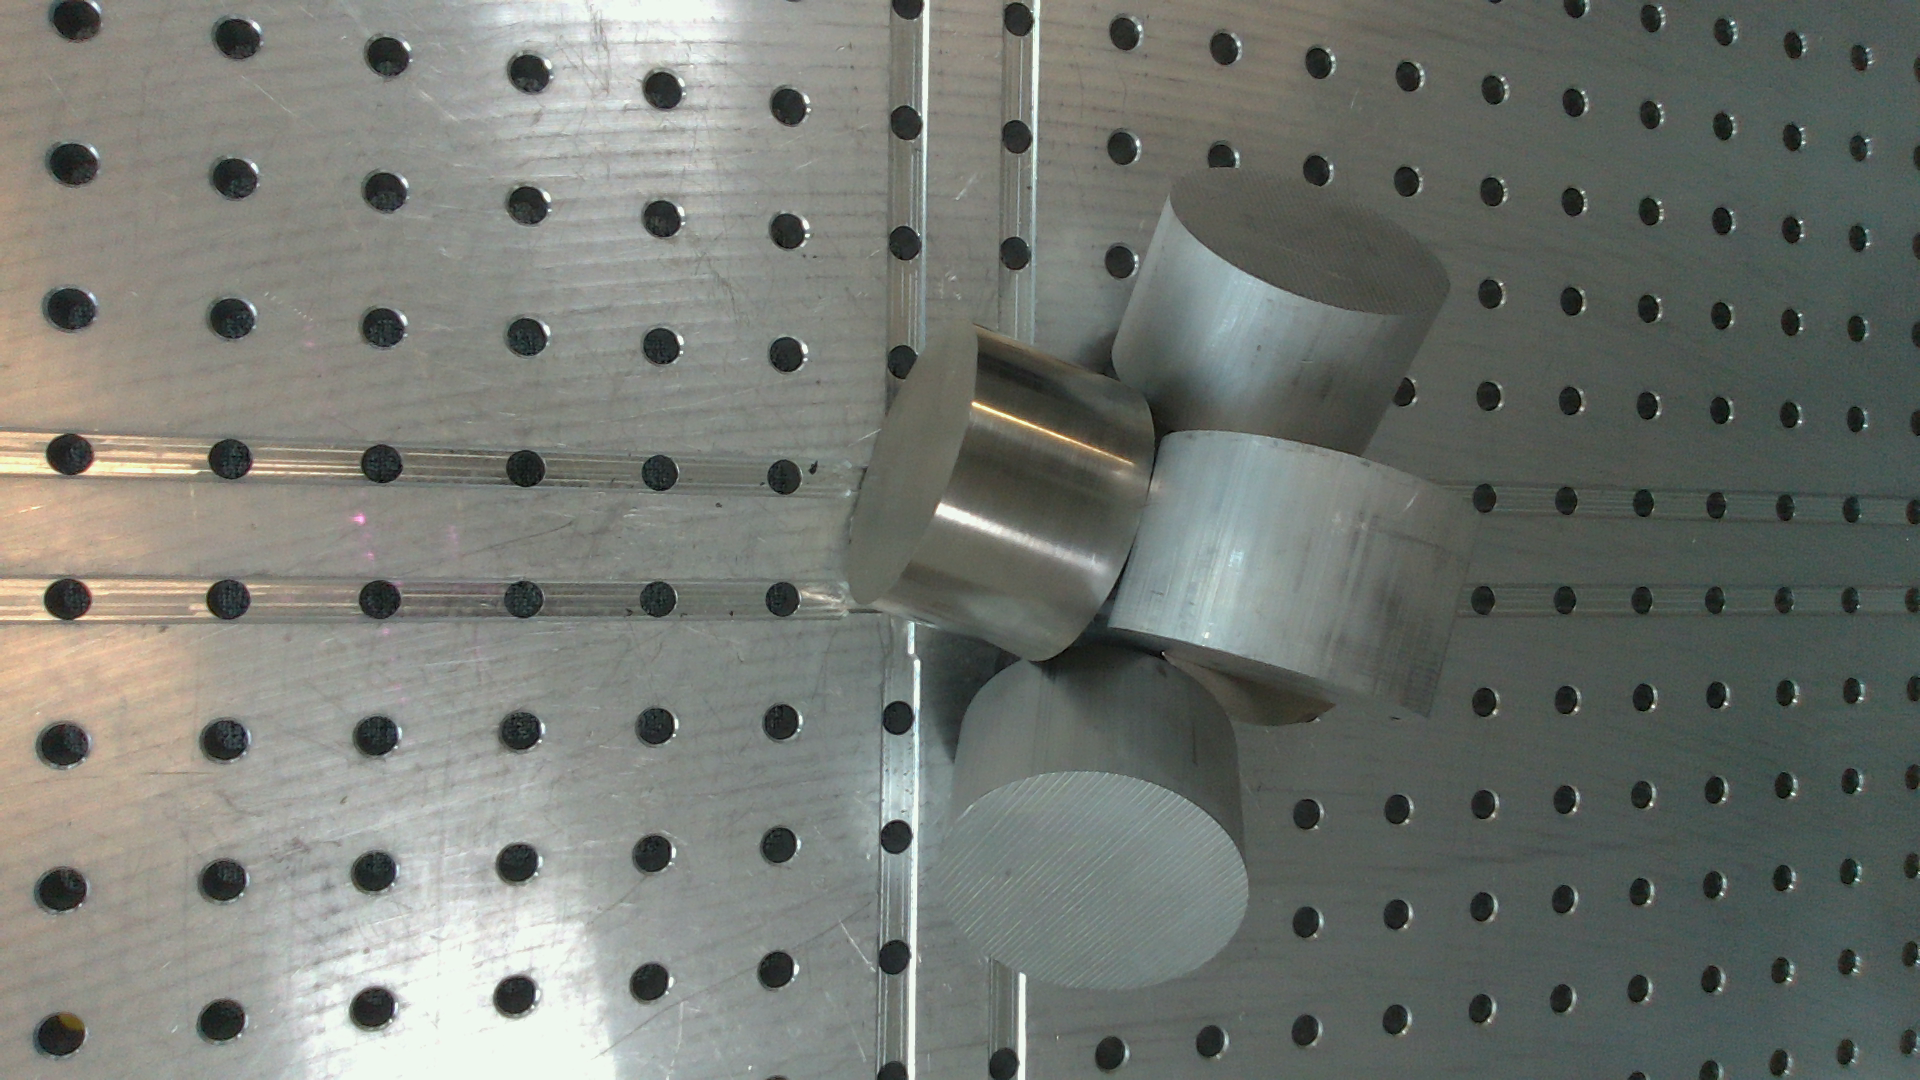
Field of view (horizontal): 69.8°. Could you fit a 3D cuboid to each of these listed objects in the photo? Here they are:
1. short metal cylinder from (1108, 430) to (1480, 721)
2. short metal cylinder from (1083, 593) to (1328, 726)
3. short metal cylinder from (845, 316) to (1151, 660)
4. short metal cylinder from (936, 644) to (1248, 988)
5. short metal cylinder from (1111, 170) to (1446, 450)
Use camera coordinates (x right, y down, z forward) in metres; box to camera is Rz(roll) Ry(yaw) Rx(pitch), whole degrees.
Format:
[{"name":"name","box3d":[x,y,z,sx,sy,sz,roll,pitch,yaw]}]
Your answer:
[{"name":"short metal cylinder","box3d":[0.082,0.010,0.343,0.080,0.080,0.050,18,84,-19]},{"name":"short metal cylinder","box3d":[0.080,0.013,0.411,0.080,0.050,0.080,0,89,-19]},{"name":"short metal cylinder","box3d":[0.008,-0.013,0.370,0.050,0.080,0.080,20,84,-19]},{"name":"short metal cylinder","box3d":[0.036,0.075,0.374,0.080,0.050,0.080,4,124,6]},{"name":"short metal cylinder","box3d":[0.089,-0.064,0.392,0.080,0.080,0.050,2,129,-20]}]
